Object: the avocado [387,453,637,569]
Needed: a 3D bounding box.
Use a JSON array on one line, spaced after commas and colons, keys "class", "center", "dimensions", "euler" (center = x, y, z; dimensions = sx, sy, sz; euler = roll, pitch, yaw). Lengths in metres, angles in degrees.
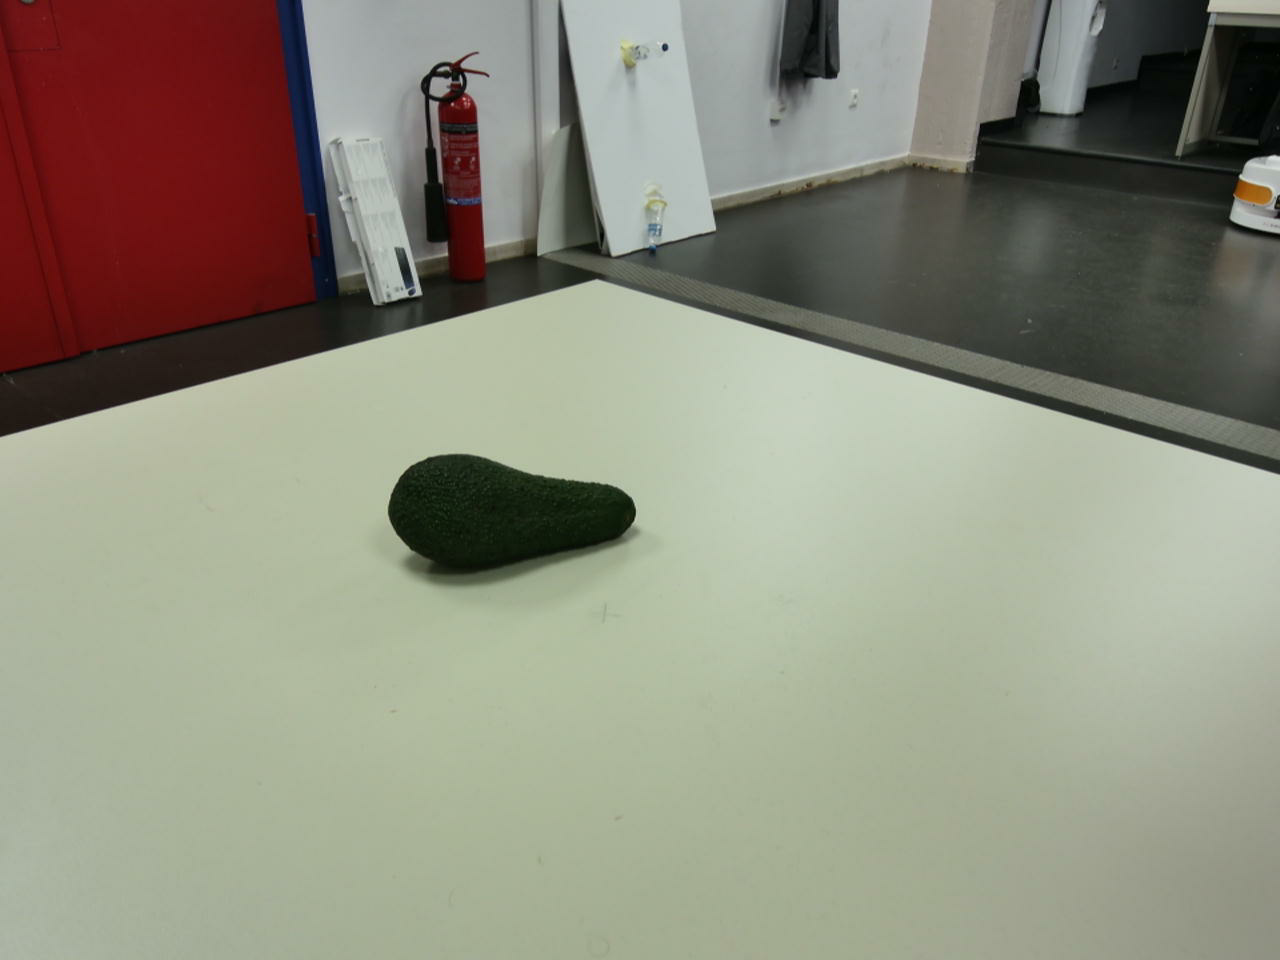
[{"class": "avocado", "center": [-0.071, 0.010, 0.565], "dimensions": [0.141, 0.067, 0.063], "euler": [-15, 30, -30]}]
